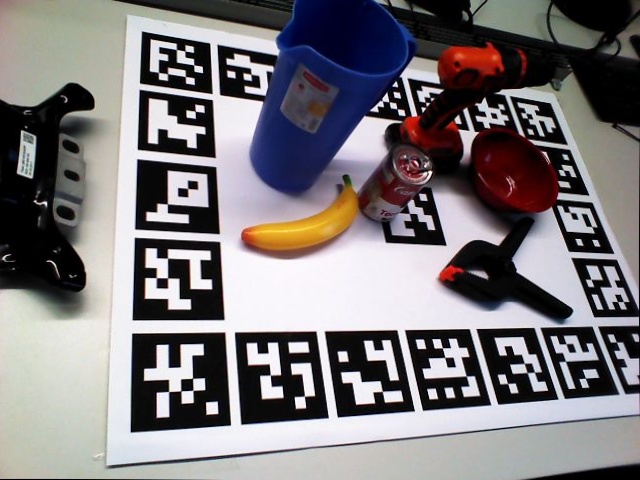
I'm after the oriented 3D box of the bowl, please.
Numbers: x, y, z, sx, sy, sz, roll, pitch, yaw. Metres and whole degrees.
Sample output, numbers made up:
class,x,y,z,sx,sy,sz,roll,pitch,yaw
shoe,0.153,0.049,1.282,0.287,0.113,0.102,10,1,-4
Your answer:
class,x,y,z,sx,sy,sz,roll,pitch,yaw
bowl,0.308,-0.099,0.818,0.161,0.055,0.161,9,62,-17

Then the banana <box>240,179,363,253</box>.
class,x,y,z,sx,sy,sz,roll,pitch,yaw
banana,-0.010,-0.023,0.665,0.196,0.039,0.074,-25,66,-32

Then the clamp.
class,x,y,z,sx,sy,sz,roll,pitch,yaw
clamp,0.275,0.041,0.733,0.202,0.037,0.164,-1,68,-22

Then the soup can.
class,x,y,z,sx,sy,sz,roll,pitch,yaw
soup can,0.110,-0.079,0.703,0.068,0.103,0.067,11,52,-14

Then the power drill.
class,x,y,z,sx,sy,sz,roll,pitch,yaw
power drill,0.226,-0.191,0.734,0.184,0.188,0.057,-3,65,-24

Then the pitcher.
class,x,y,z,sx,sy,sz,roll,pitch,yaw
pitcher,0.012,-0.170,0.627,0.188,0.244,0.133,-24,71,-30
